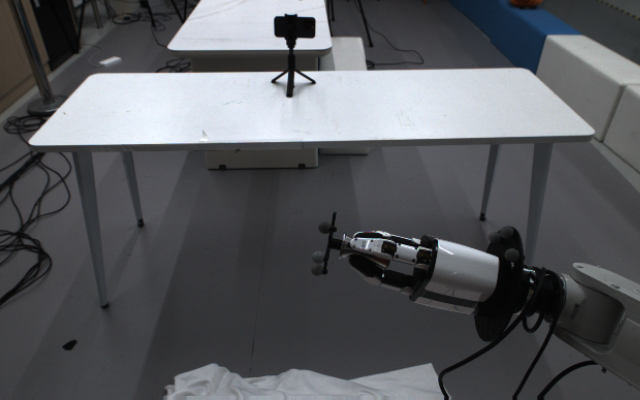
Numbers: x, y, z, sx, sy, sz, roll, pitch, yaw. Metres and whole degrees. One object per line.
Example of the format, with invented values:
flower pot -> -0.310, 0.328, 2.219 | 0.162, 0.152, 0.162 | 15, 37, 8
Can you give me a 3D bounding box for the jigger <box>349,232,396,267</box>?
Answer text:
jigger -> 0.070, 0.065, 0.670 | 0.071, 0.043, 0.043 | 11, 35, 3
